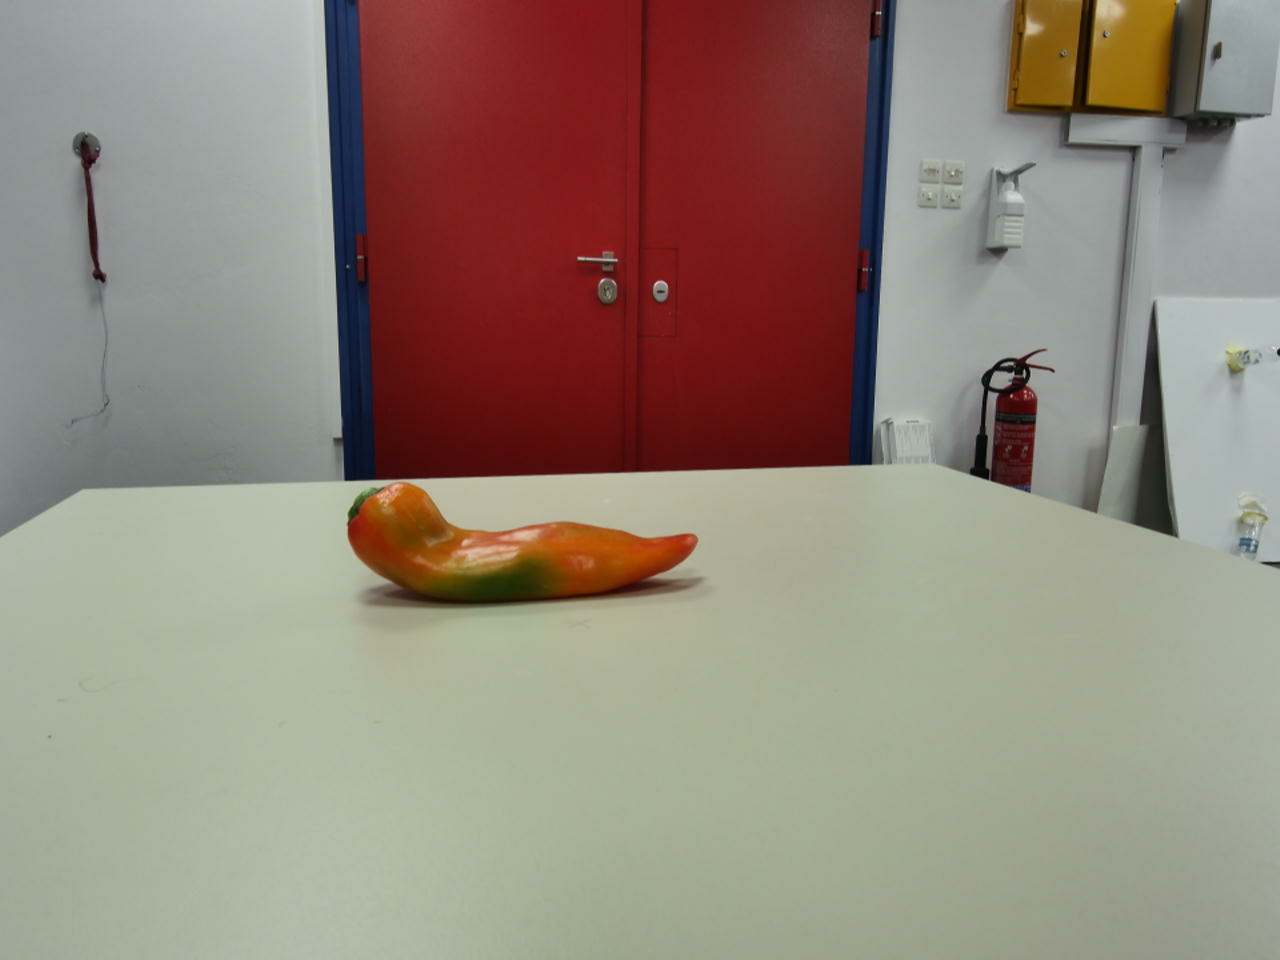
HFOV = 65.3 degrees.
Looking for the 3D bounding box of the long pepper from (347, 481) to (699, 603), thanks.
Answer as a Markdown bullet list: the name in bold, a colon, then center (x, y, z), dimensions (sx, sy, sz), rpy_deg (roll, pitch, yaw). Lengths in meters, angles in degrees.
- **long pepper**: center (-0.063, 0.032, 0.566), dimensions (0.199, 0.065, 0.066), rpy_deg (-1, 8, -8)
